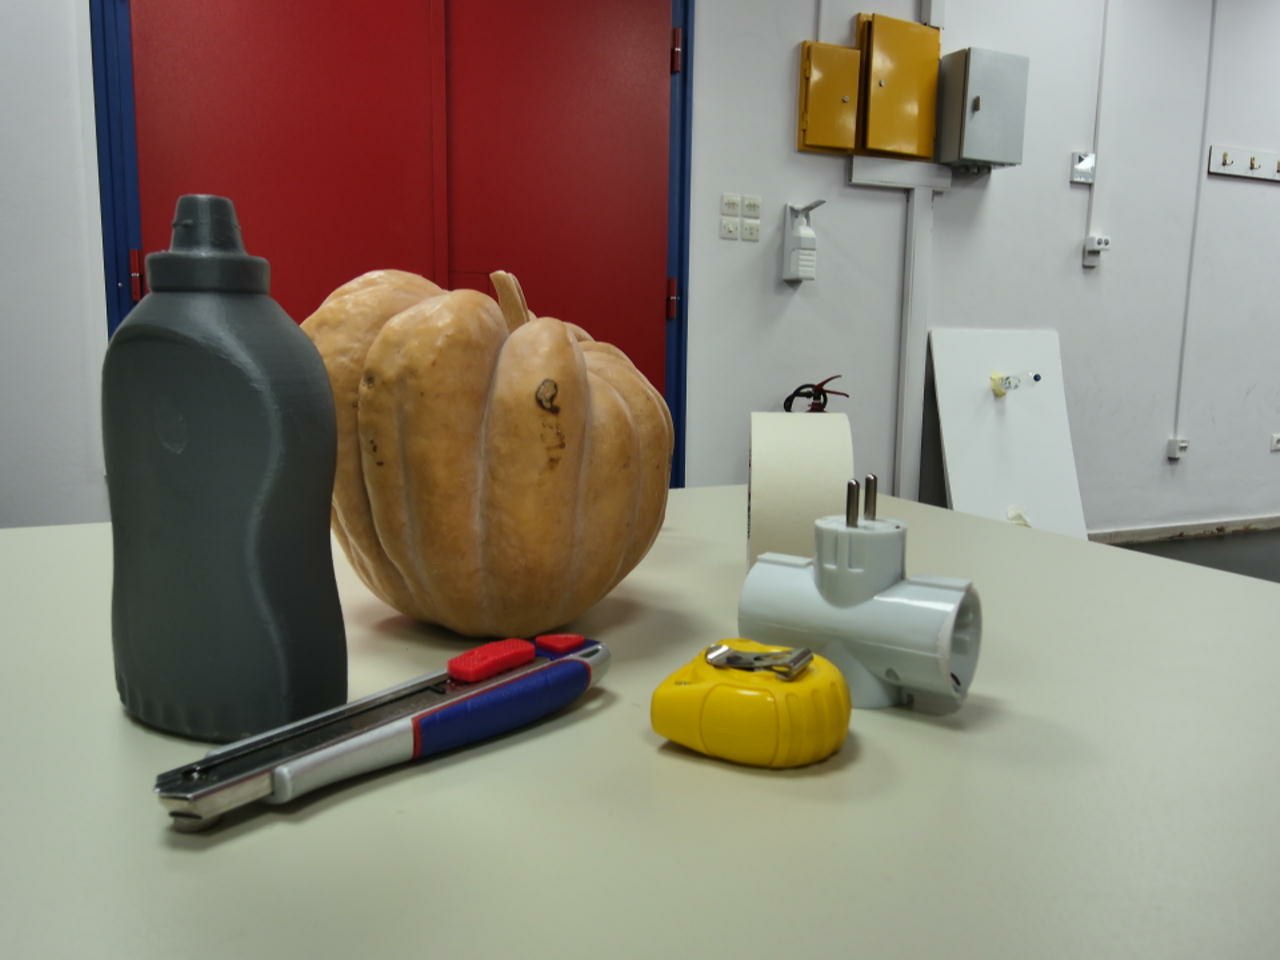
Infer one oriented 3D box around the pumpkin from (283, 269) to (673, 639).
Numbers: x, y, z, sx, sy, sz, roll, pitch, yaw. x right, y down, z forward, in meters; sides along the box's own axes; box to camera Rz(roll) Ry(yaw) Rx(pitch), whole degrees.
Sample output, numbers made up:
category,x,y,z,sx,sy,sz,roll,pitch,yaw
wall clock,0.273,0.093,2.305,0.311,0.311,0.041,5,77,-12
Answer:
category,x,y,z,sx,sy,sz,roll,pitch,yaw
pumpkin,-0.078,-0.015,0.498,0.199,0.177,0.198,1,7,0
